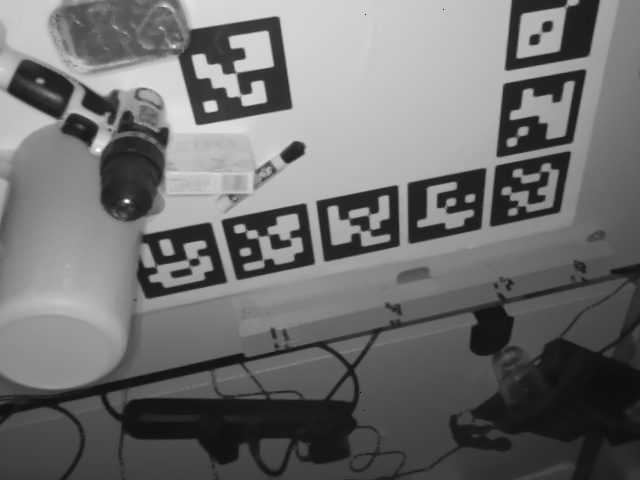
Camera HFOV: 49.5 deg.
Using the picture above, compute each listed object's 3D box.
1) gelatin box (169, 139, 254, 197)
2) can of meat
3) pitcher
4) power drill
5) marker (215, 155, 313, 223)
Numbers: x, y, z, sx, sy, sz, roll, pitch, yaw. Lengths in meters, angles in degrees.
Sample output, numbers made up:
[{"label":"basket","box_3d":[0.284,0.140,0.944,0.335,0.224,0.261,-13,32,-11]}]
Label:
[{"label":"gelatin box","box_3d":[-0.113,-0.074,0.696,0.090,0.073,0.030,0,124,-11]},{"label":"can of meat","box_3d":[-0.153,-0.189,0.584,0.102,0.084,0.057,-10,131,-5]},{"label":"pitcher","box_3d":[-0.242,0.002,0.623,0.191,0.242,0.131,14,121,-31]},{"label":"power drill","box_3d":[-0.207,-0.099,0.581,0.188,0.185,0.056,23,118,-21]},{"label":"marker","box_3d":[-0.060,-0.056,0.754,0.120,0.020,0.020,-31,128,10]}]
